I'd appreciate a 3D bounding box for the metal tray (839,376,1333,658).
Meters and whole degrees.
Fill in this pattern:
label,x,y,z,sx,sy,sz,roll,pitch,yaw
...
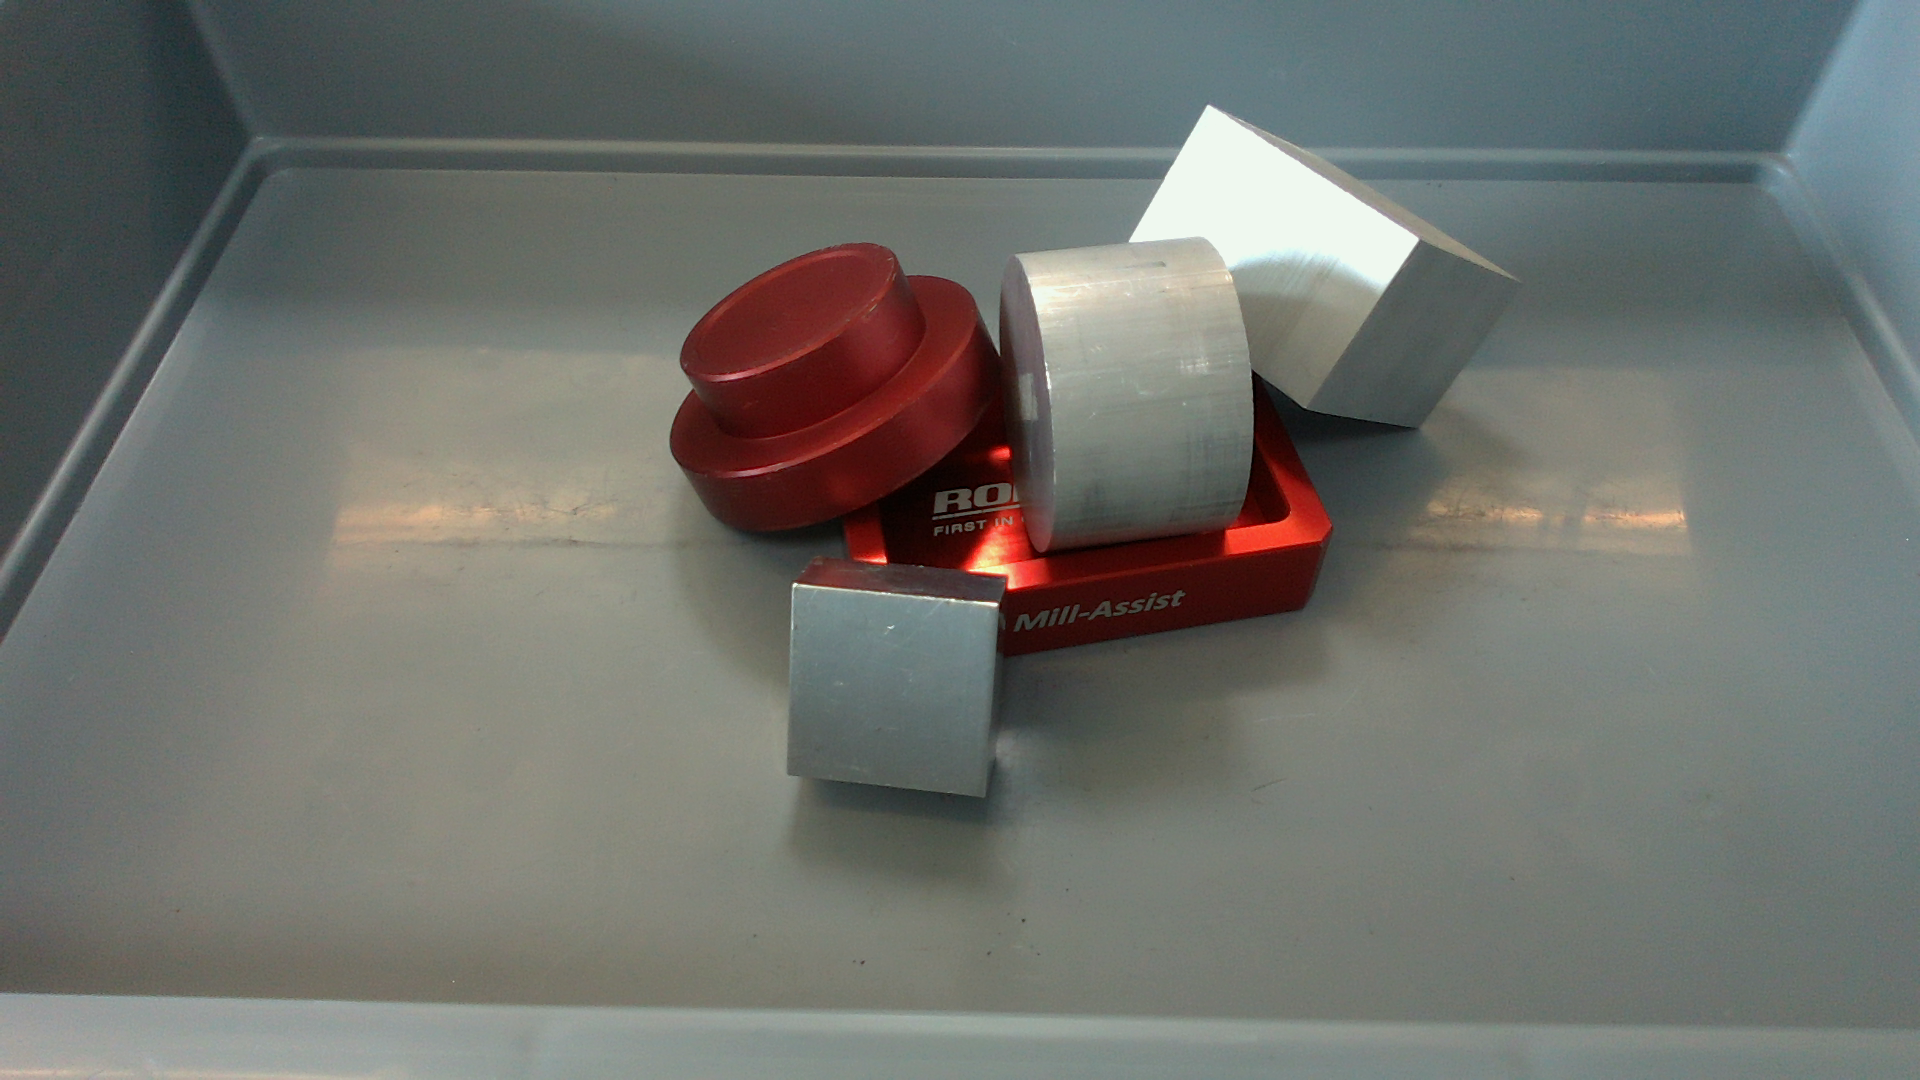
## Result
label,x,y,z,sx,sy,sz,roll,pitch,yaw
metal tray,0.030,-0.014,0.400,0.130,0.030,0.090,-9,50,-7

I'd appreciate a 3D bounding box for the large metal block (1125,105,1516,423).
label,x,y,z,sx,sy,sz,roll,pitch,yaw
large metal block,0.108,-0.081,0.416,0.080,0.050,0.080,0,37,-51

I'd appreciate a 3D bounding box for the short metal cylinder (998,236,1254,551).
label,x,y,z,sx,sy,sz,roll,pitch,yaw
short metal cylinder,0.042,-0.039,0.371,0.050,0.080,0.080,-6,50,-6

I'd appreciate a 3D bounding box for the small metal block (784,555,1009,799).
label,x,y,z,sx,sy,sz,roll,pitch,yaw
small metal block,-0.016,0.033,0.342,0.050,0.050,0.025,5,16,6

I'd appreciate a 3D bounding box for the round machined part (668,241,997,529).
label,x,y,z,sx,sy,sz,roll,pitch,yaw
round machined part,-0.041,-0.050,0.397,0.098,0.042,0.098,-19,33,13
